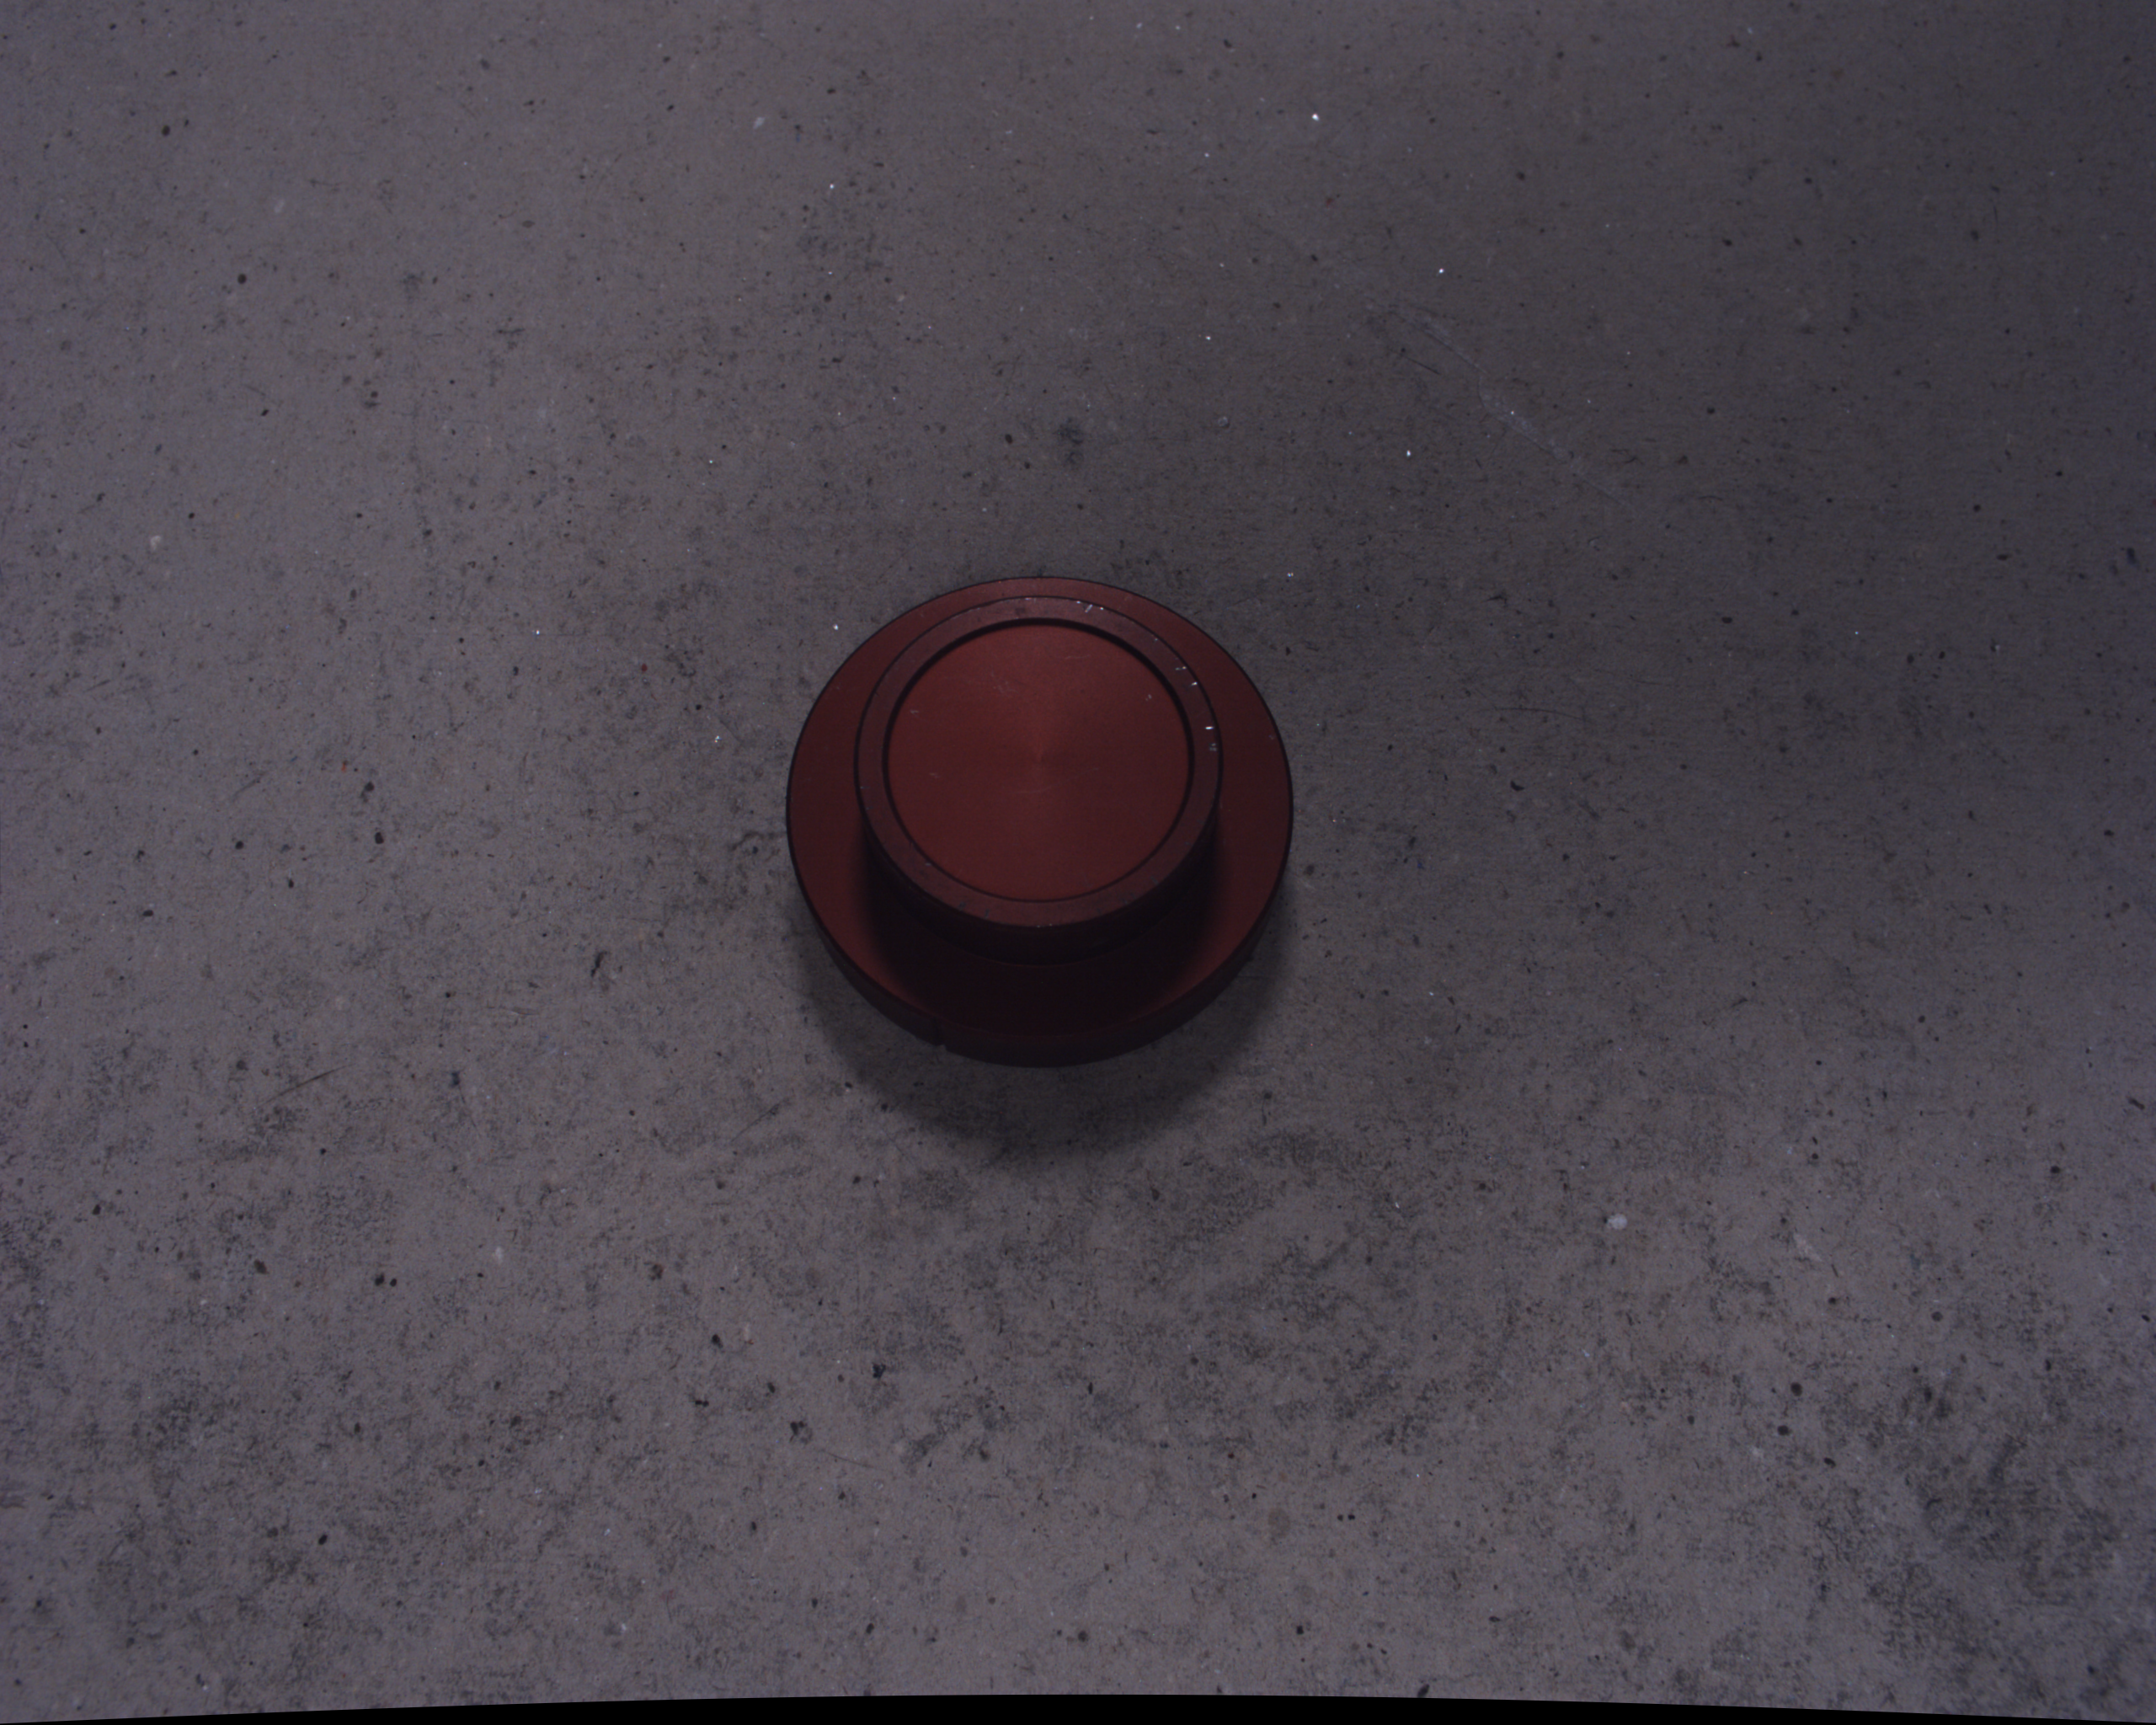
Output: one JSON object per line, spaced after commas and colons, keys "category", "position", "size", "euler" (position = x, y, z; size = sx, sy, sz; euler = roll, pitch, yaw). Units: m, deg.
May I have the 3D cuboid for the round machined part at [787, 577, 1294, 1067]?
{"category": "round machined part", "position": [-0.007, -0.012, 0.404], "size": [0.099, 0.042, 0.098], "euler": [0, 70, -1]}
